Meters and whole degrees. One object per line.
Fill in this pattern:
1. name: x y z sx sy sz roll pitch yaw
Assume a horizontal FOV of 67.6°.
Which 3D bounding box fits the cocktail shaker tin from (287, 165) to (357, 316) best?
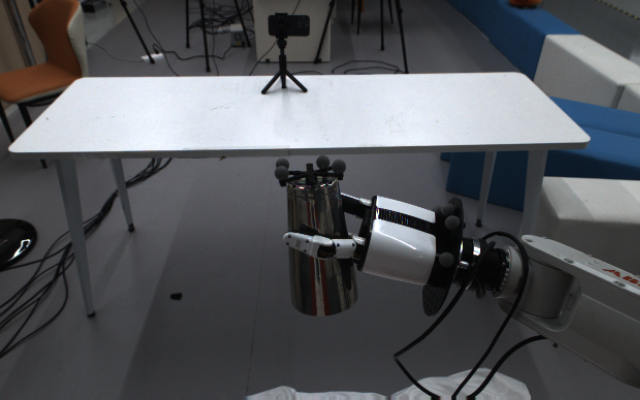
1. cocktail shaker tin: -0.001 0.054 0.636 0.093 0.170 0.093 -6 19 2
